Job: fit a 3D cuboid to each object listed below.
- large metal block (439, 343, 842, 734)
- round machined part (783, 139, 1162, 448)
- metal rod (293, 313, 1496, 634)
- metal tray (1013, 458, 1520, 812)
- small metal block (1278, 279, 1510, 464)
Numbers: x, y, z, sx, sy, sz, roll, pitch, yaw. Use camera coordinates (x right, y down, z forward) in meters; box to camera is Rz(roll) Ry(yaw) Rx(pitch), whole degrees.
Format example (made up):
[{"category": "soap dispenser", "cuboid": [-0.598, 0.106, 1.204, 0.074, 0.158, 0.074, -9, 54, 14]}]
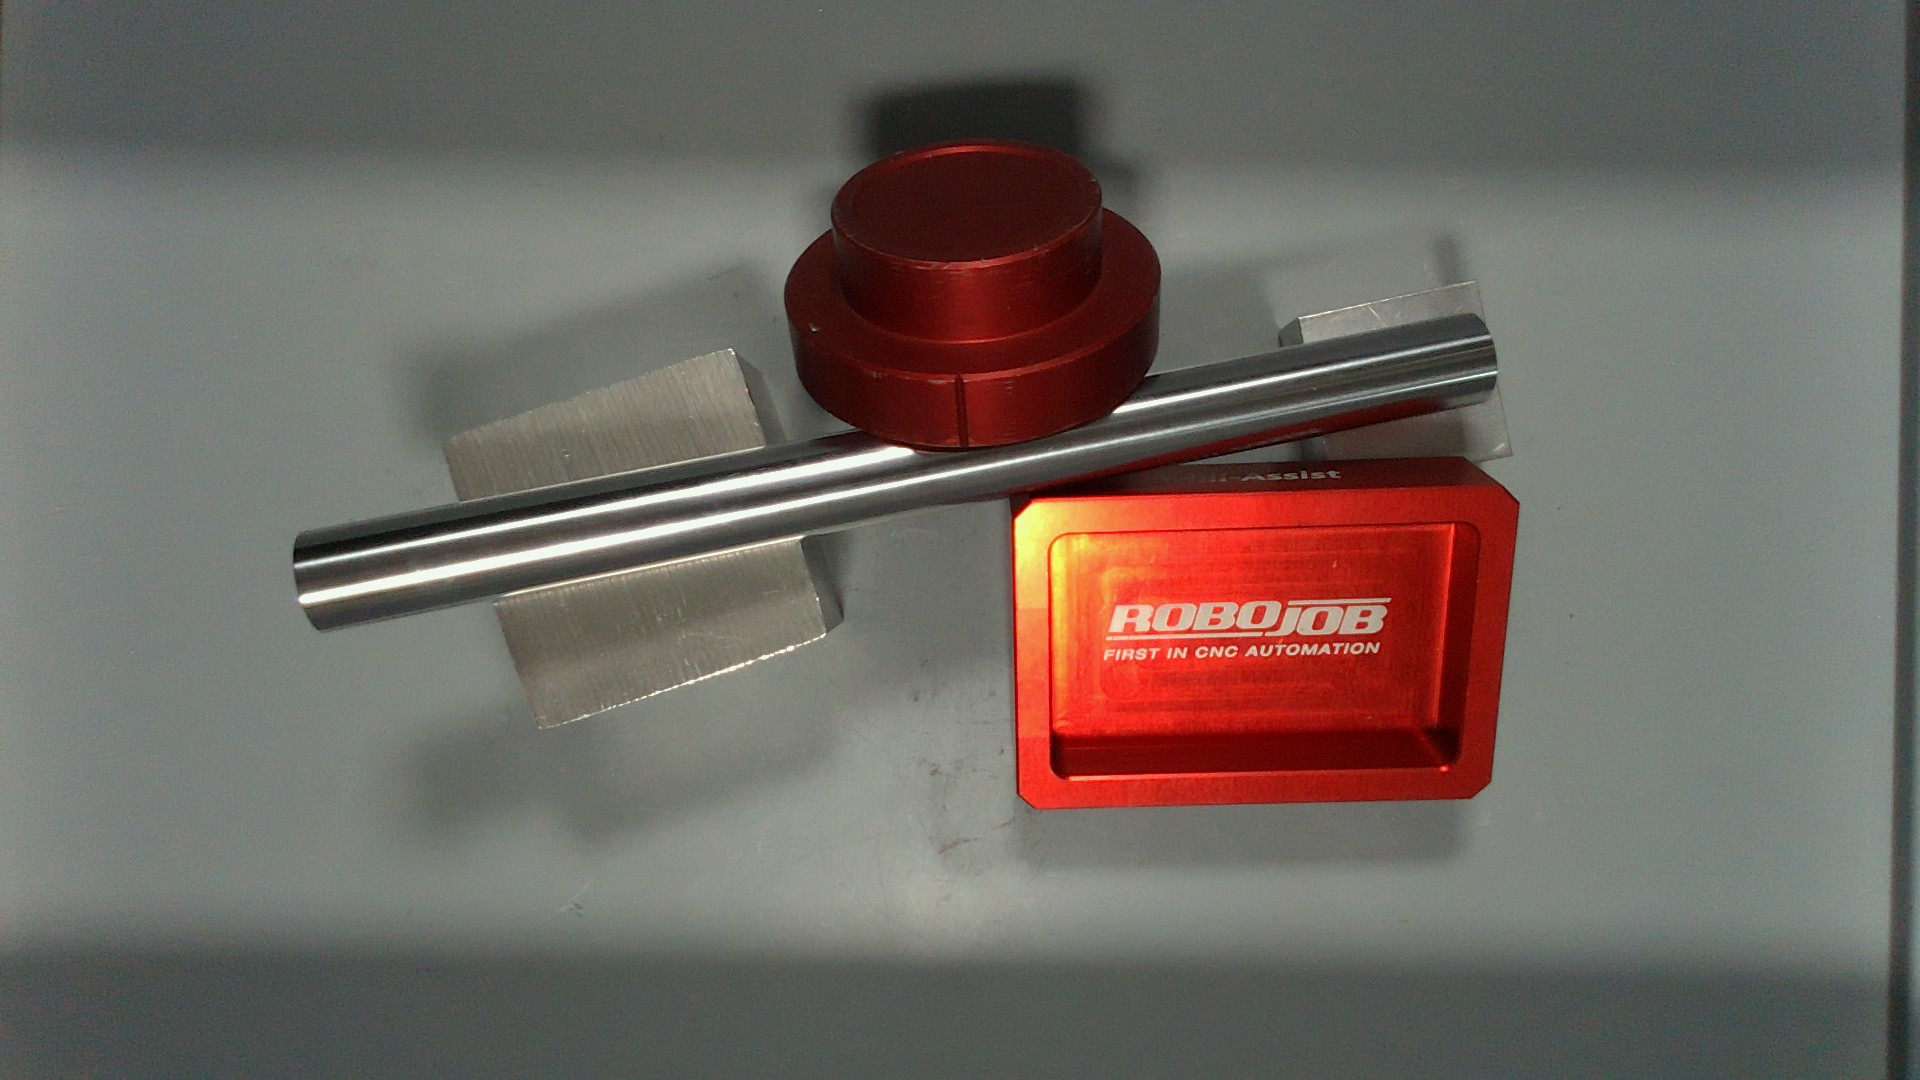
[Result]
[{"category": "large metal block", "cuboid": [-0.084, -0.001, 0.381, 0.080, 0.050, 0.080, -18, 90, 0]}, {"category": "round machined part", "cuboid": [0.003, -0.070, 0.355, 0.098, 0.098, 0.042, -5, 131, 0]}, {"category": "metal rod", "cuboid": [-0.009, -0.019, 0.349, 0.300, 0.025, 0.025, -11, 90, -7]}, {"category": "metal tray", "cuboid": [0.079, 0.026, 0.378, 0.130, 0.030, 0.090, -2, 110, -1]}, {"category": "small metal block", "cuboid": [0.123, -0.043, 0.394, 0.050, 0.025, 0.050, -12, 90, 0]}]
